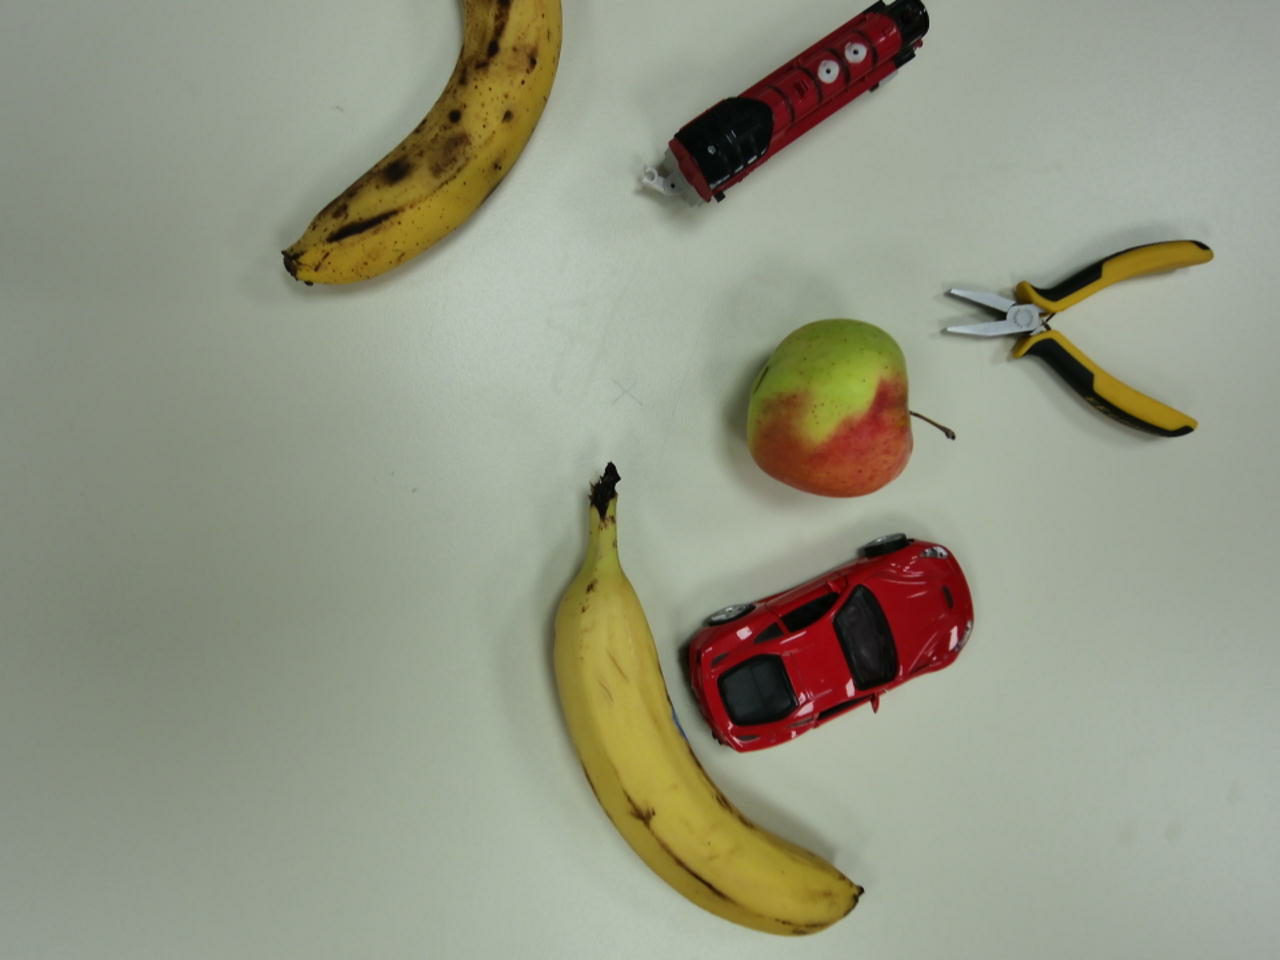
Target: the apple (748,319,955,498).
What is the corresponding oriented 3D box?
[{"bbox_3d":[0.081,-0.029,0.420,0.075,0.074,0.075,-30,96,-10],"label":"apple"}]
